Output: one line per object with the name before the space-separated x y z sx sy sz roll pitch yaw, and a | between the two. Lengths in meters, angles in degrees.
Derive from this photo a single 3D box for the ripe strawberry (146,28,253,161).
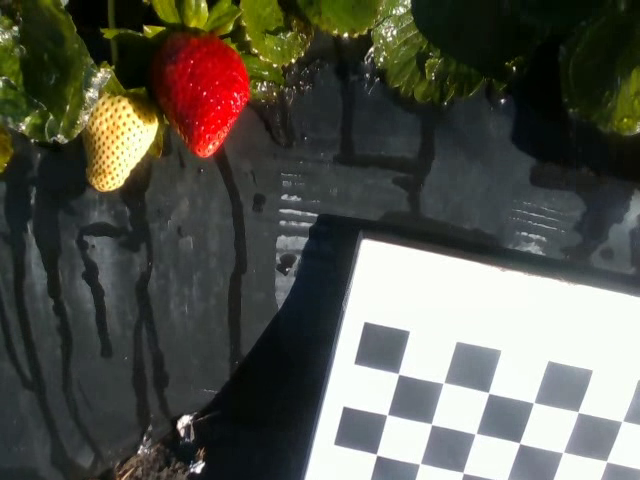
ripe strawberry | -0.049 -0.056 0.262 0.042 0.061 0.046 -2 -26 2
